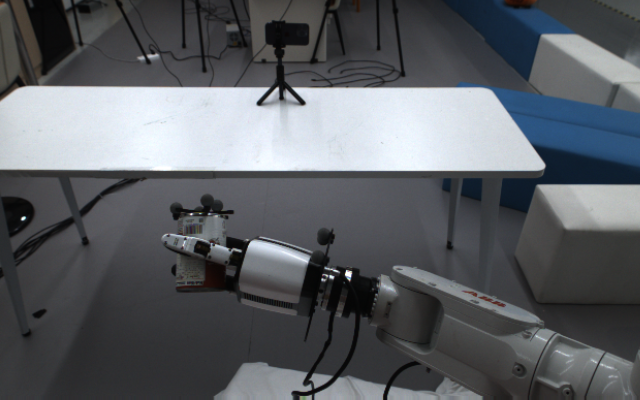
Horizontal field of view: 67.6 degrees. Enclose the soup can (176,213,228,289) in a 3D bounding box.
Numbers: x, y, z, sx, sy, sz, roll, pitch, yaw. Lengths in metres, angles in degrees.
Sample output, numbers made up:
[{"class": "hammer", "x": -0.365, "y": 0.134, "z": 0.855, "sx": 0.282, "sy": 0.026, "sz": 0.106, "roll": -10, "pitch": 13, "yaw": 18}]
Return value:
[{"class": "soup can", "x": -0.160, "y": 0.075, "z": 0.660, "sx": 0.067, "sy": 0.067, "sz": 0.101, "roll": -1, "pitch": 77, "yaw": -5}]
